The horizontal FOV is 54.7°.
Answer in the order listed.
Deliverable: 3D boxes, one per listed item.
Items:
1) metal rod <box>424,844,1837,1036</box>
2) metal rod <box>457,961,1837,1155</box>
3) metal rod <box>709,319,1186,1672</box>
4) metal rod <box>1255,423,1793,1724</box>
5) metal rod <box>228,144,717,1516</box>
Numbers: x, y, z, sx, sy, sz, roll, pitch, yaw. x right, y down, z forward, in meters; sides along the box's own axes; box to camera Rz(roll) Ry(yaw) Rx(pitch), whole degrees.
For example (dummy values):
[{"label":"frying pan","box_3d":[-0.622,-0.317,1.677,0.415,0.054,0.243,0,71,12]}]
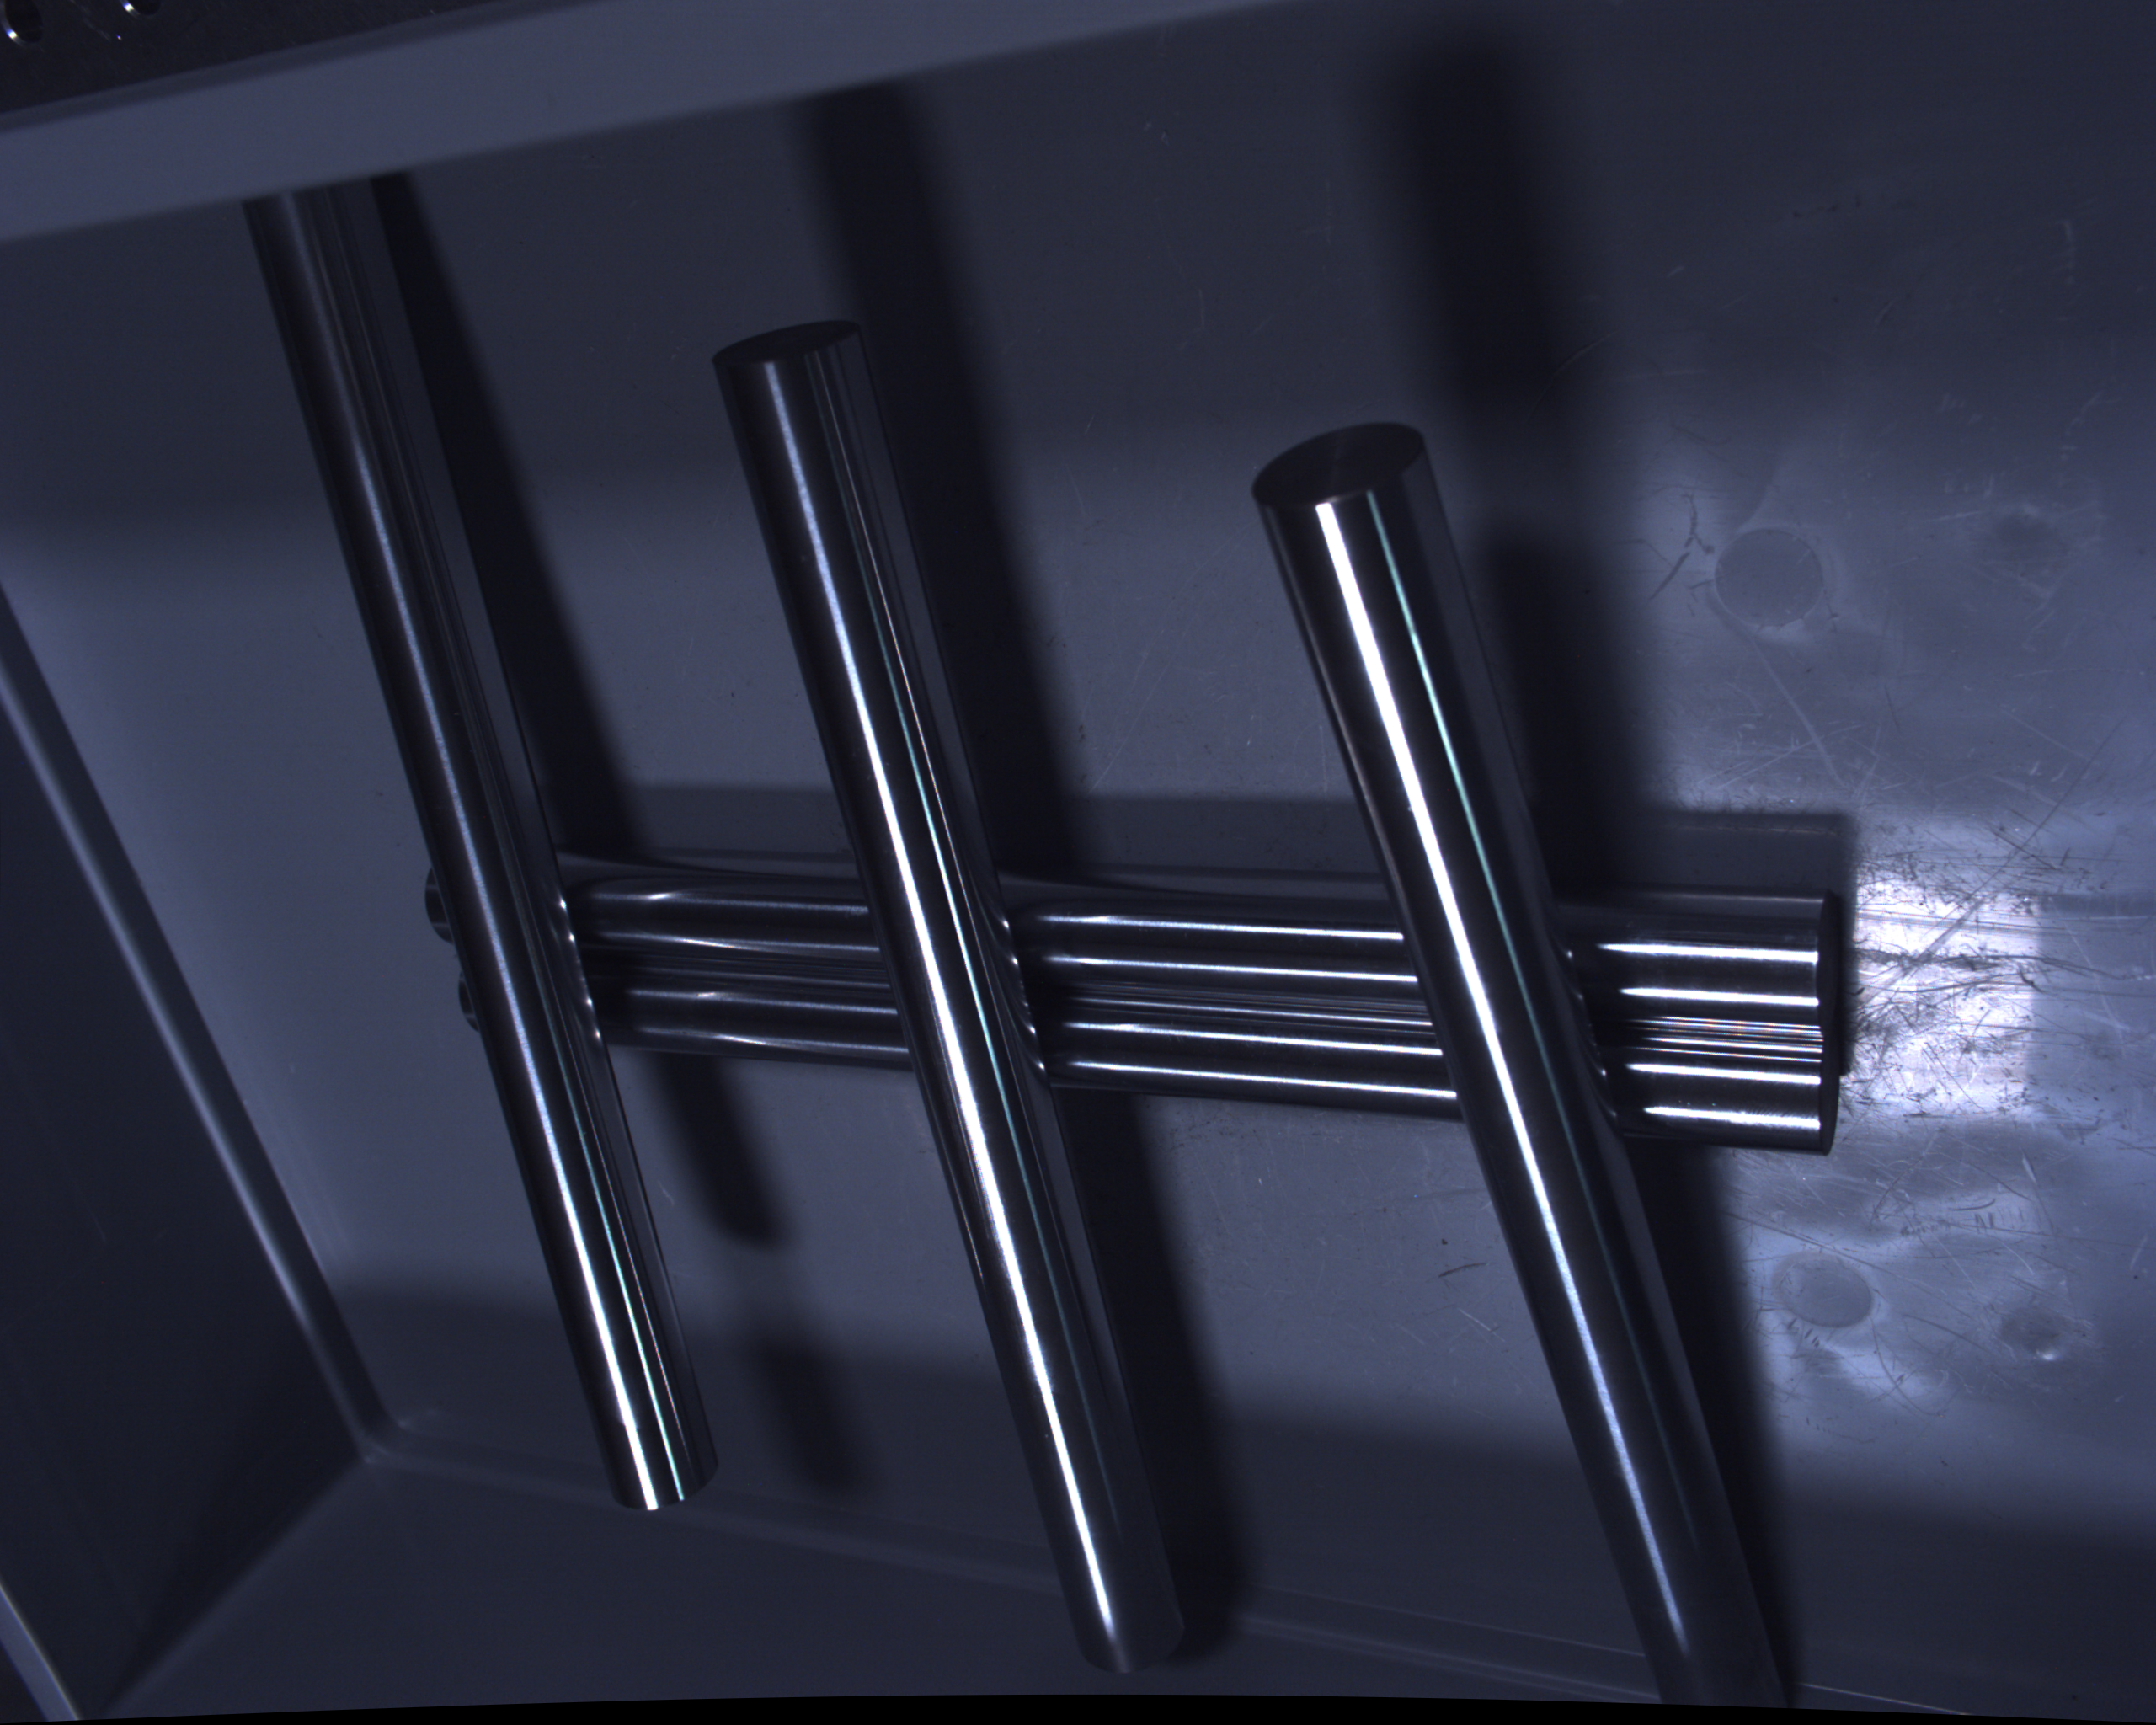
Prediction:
[{"label":"metal rod","box_3d":[-0.008,0.012,0.418,0.301,0.025,0.025,2,119,26]},{"label":"metal rod","box_3d":[-0.004,0.033,0.429,0.301,0.025,0.025,2,119,26]},{"label":"metal rod","box_3d":[-0.018,0.044,0.410,0.025,0.025,0.298,1,119,27]},{"label":"metal rod","box_3d":[0.088,0.063,0.370,0.025,0.025,0.299,-4,125,30]},{"label":"metal rod","box_3d":[-0.123,0.005,0.442,0.025,0.025,0.298,-1,110,28]}]
